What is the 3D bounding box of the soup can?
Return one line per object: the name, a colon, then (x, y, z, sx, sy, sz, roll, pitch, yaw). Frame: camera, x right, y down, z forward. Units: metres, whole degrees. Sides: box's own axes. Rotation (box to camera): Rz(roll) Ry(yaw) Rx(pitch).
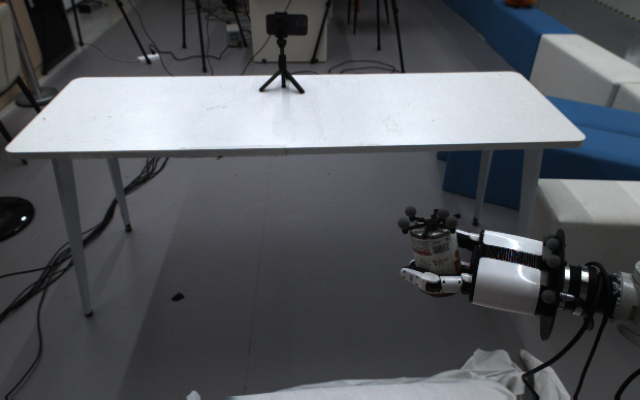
soup can: (0.176, 0.084, 0.723, 0.067, 0.101, 0.067, -13, 19, 4)
